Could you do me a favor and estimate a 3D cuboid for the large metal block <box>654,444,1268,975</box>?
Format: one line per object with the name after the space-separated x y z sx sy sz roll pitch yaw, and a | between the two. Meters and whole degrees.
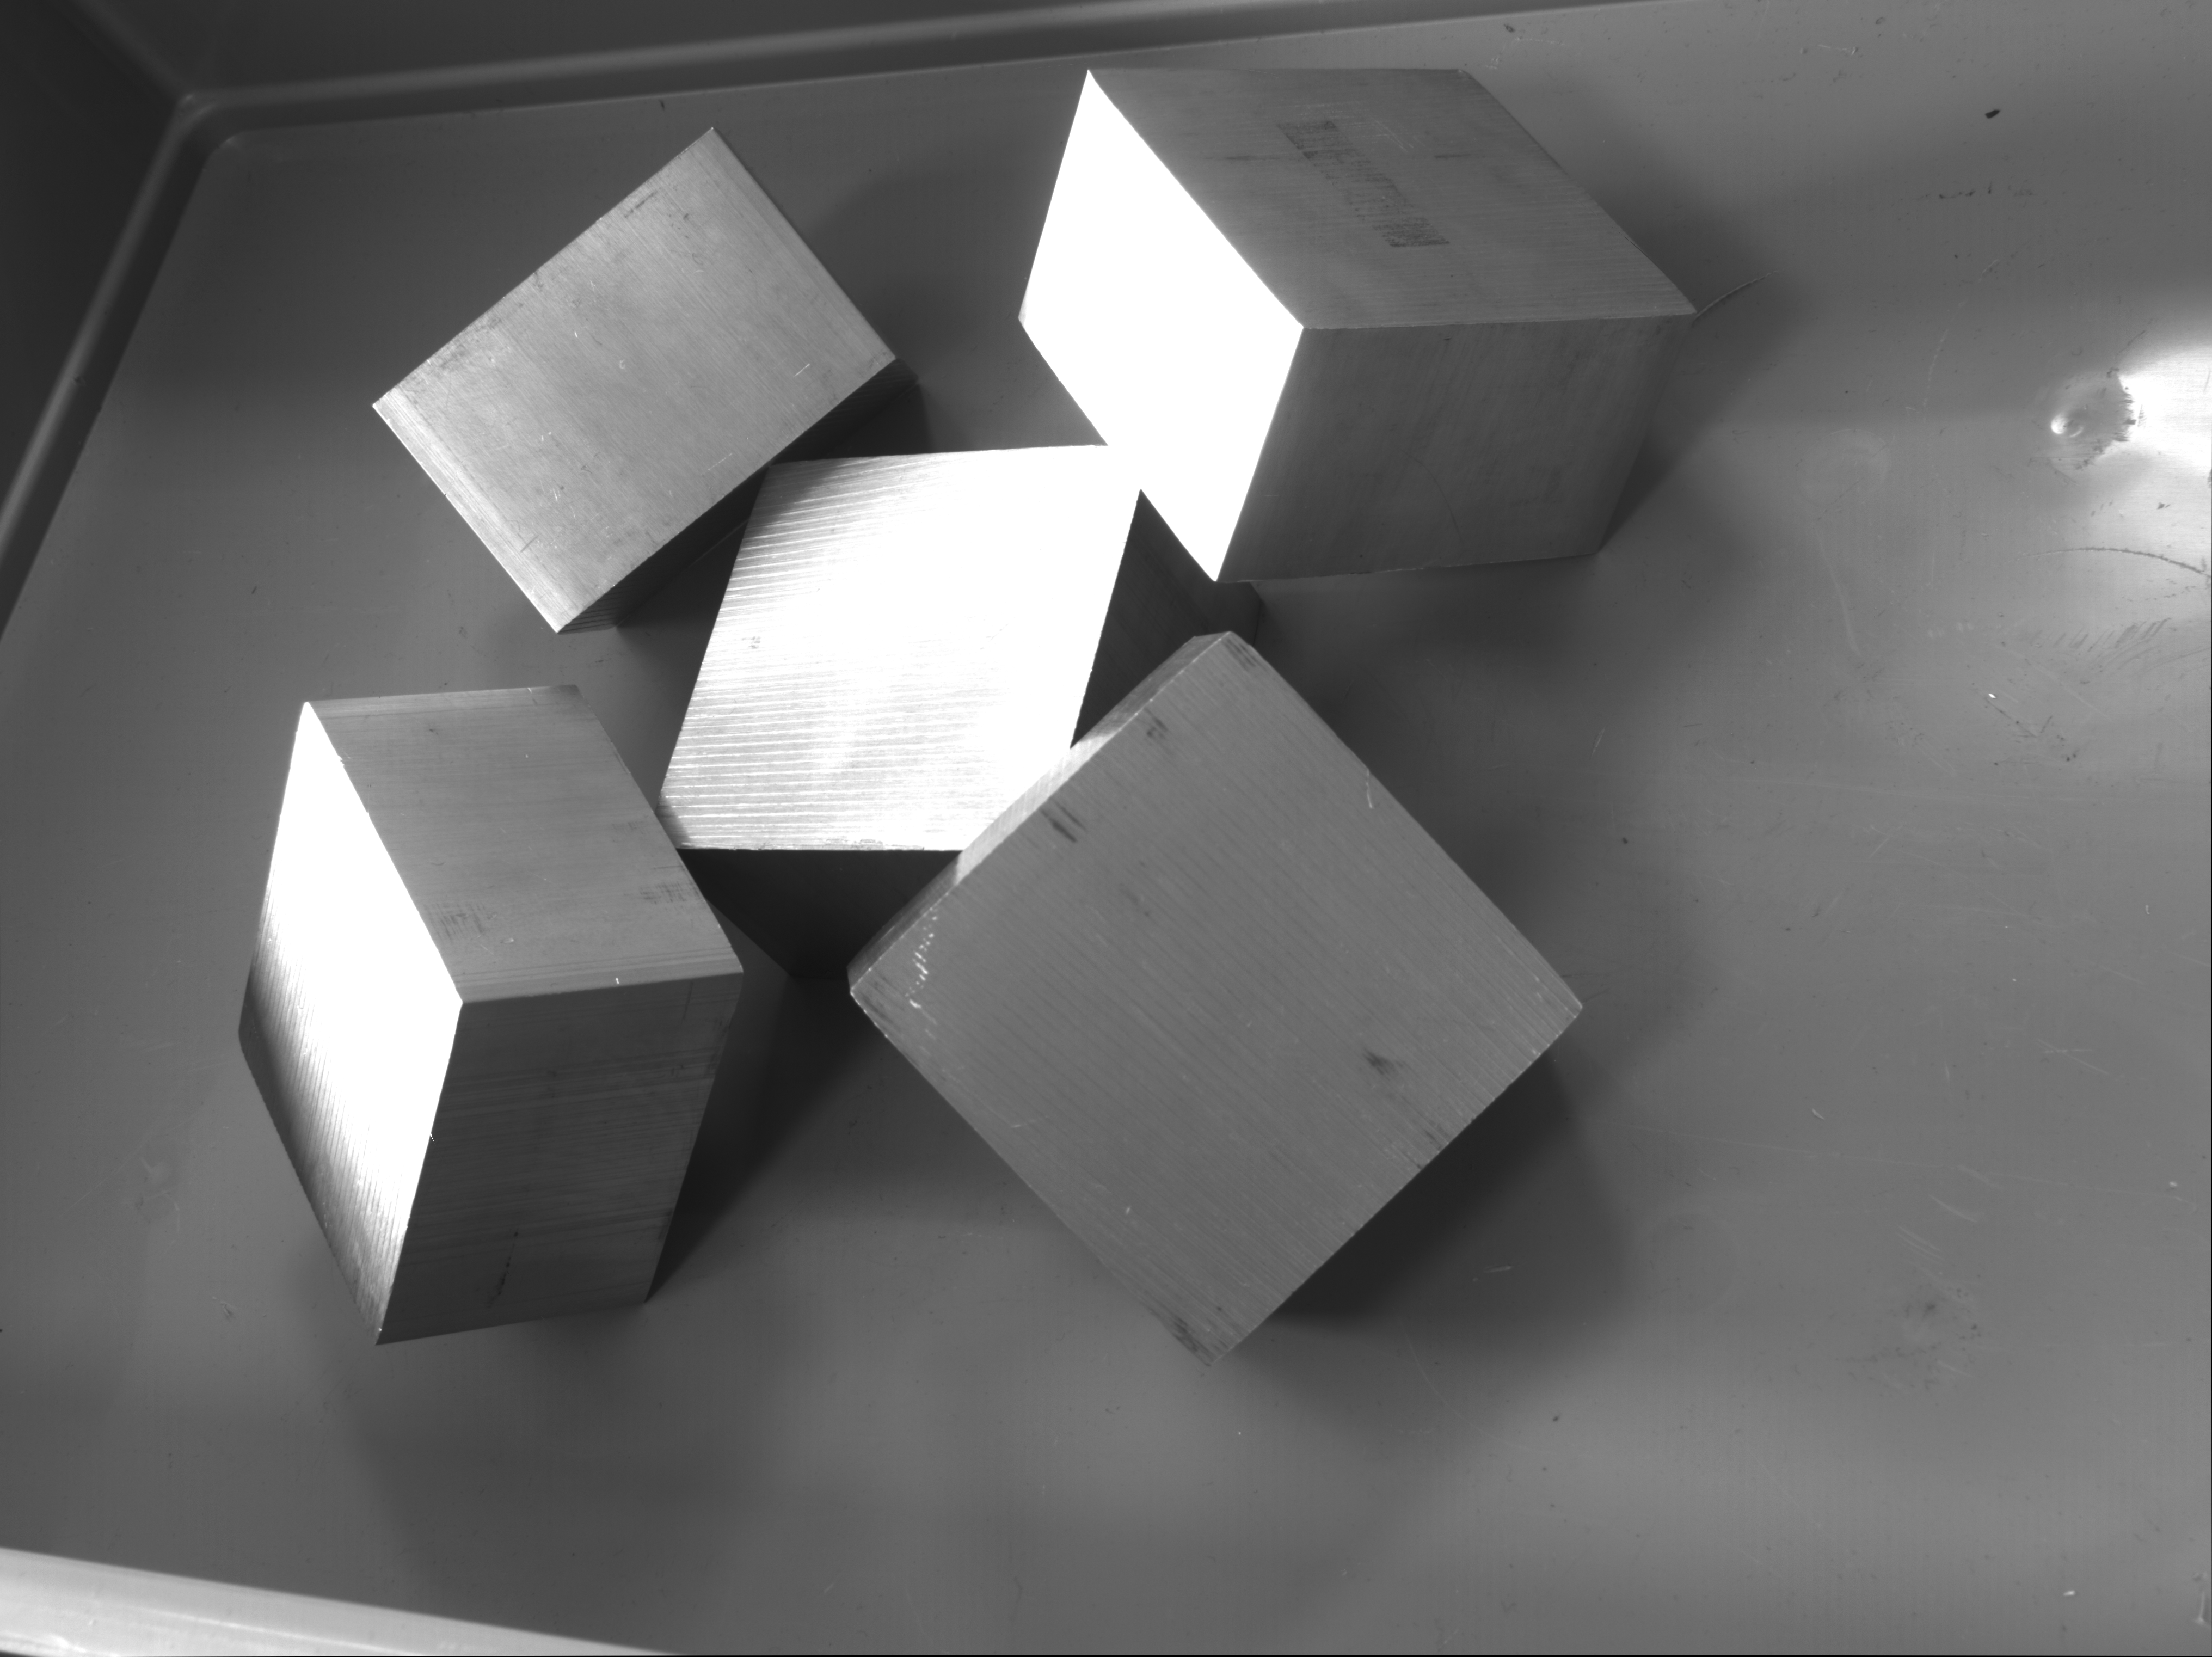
-0.026 -0.020 0.652 0.080 0.050 0.080 1 62 29 | large metal block

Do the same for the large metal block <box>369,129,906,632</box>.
-0.085 -0.083 0.694 0.080 0.080 0.050 -39 94 2 | large metal block

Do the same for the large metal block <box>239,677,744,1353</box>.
-0.110 0.031 0.641 0.080 0.050 0.080 55 138 39 | large metal block

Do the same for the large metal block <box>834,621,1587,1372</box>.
0.014 0.024 0.576 0.080 0.050 0.080 -43 96 -3 | large metal block

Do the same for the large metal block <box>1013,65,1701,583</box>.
0.041 -0.089 0.633 0.080 0.050 0.080 -7 43 -29 | large metal block
